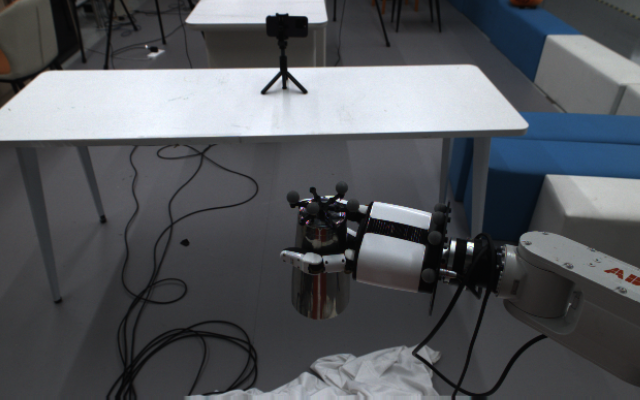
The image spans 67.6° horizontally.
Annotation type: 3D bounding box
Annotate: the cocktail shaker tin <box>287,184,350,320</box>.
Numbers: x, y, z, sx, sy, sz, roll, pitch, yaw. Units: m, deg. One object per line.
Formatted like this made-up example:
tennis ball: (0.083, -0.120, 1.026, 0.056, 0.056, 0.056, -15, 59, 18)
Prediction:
cocktail shaker tin: (0.006, 0.079, 0.703, 0.093, 0.170, 0.093, 1, 39, -1)
